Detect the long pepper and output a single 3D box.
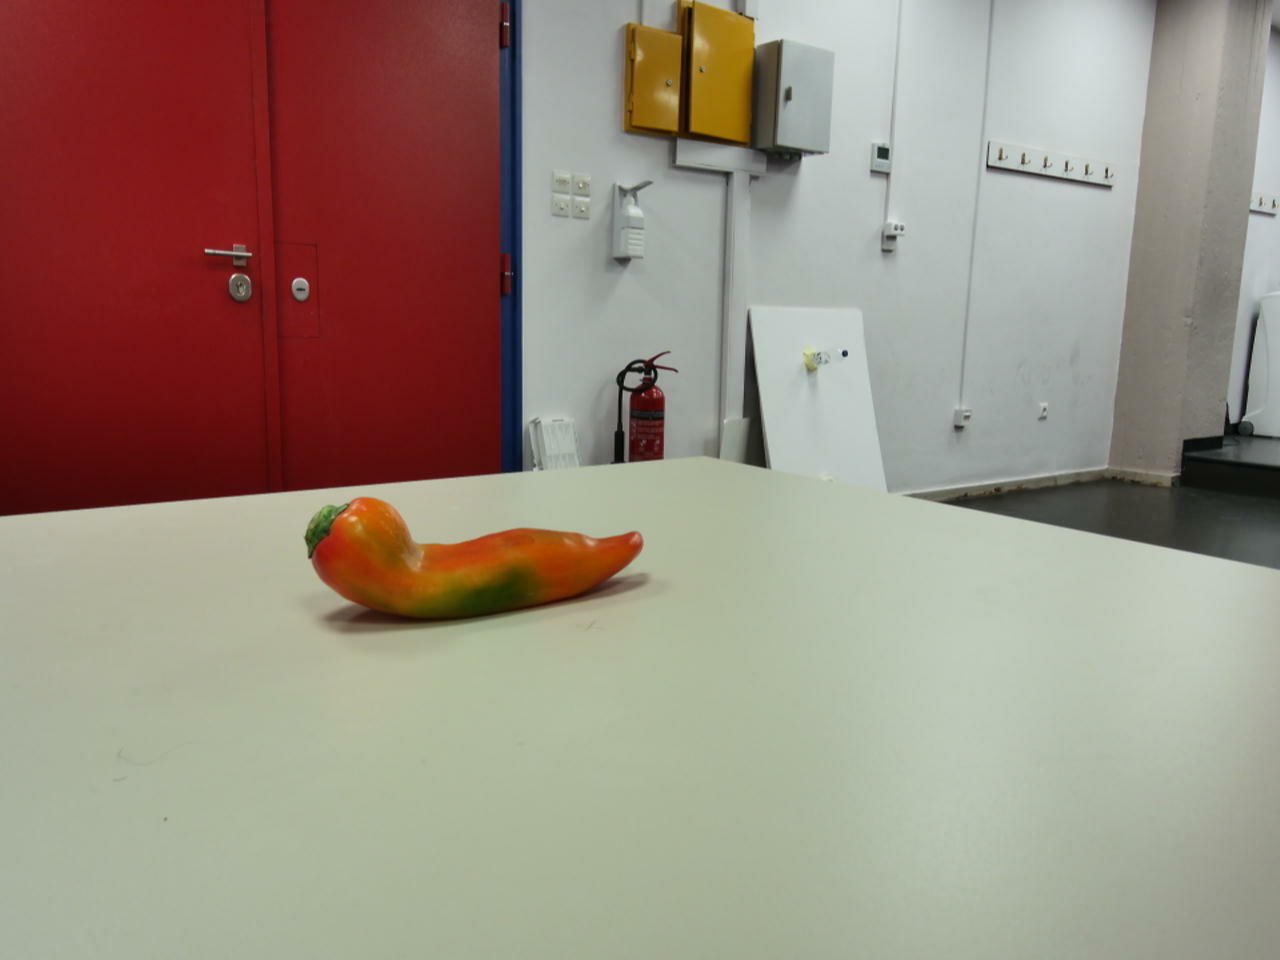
[{"bbox_3d":[-0.080,0.036,0.550,0.199,0.065,0.066,-4,9,-31],"label":"long pepper"}]
